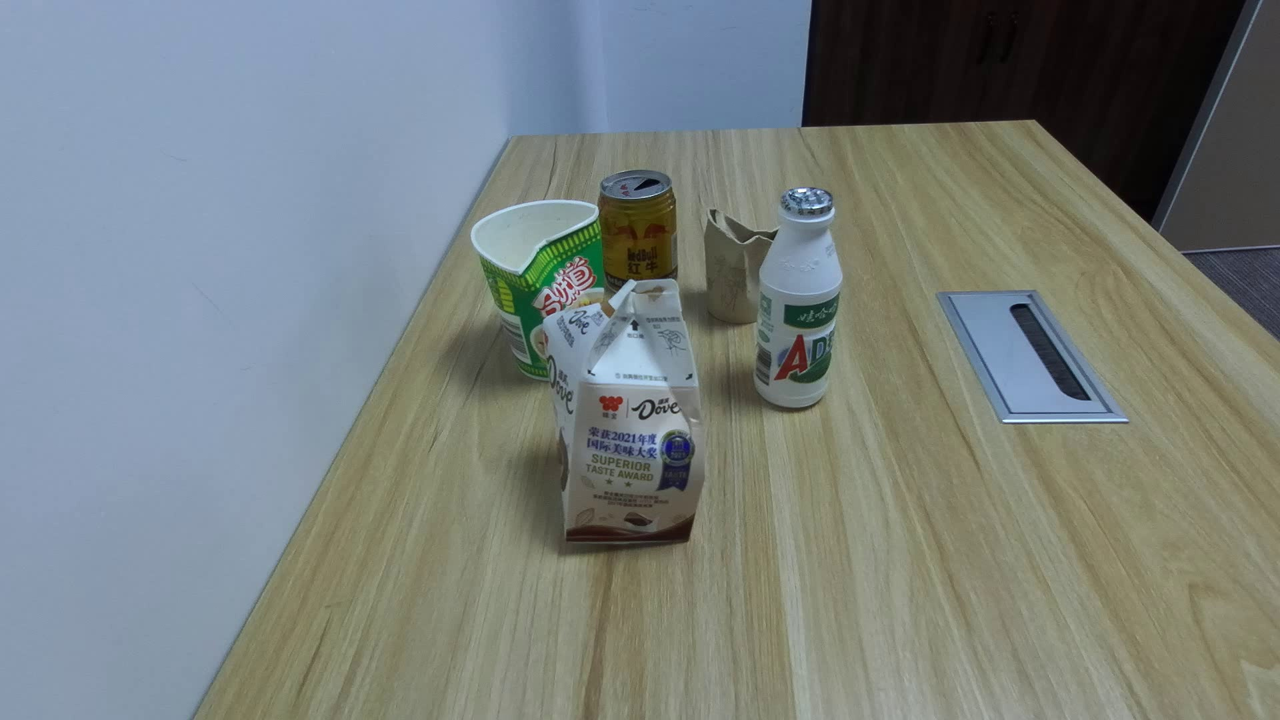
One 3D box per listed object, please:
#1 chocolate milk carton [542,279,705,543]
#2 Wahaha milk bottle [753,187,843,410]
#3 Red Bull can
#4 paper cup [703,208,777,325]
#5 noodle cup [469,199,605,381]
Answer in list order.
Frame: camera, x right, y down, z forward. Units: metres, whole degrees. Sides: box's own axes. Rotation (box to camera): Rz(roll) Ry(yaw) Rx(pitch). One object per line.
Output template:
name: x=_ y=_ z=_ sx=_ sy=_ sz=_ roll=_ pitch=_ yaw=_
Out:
chocolate milk carton: x=-0.010 y=0.024 z=0.397 sx=0.077 sy=0.155 sz=0.089 roll=-6 pitch=24 yaw=-7
Wahaha milk bottle: x=0.103 y=-0.037 z=0.459 sx=0.053 sy=0.147 sz=0.053 roll=-3 pitch=38 yaw=3
Red Bull can: x=-0.001 y=-0.108 z=0.606 sx=0.068 sy=0.093 sz=0.068 roll=-2 pitch=35 yaw=2
paper cup: x=0.085 y=-0.077 z=0.568 sx=0.058 sy=0.083 sz=0.066 roll=-17 pitch=39 yaw=-20
noodle cup: x=-0.067 y=-0.051 z=0.524 sx=0.094 sy=0.110 sz=0.086 roll=-26 pitch=43 yaw=-25
